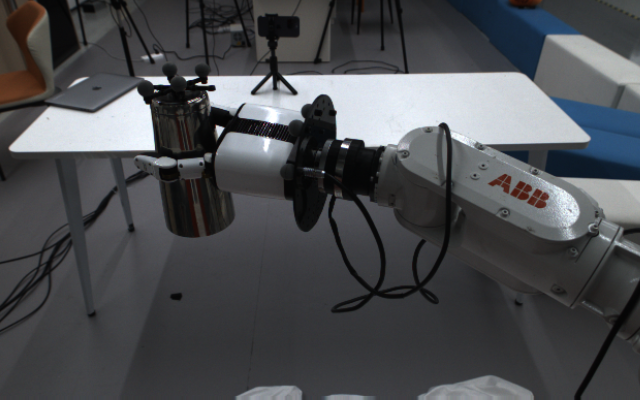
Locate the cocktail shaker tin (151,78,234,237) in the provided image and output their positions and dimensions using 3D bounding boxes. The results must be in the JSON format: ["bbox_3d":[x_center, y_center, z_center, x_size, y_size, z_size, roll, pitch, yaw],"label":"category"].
[{"bbox_3d":[-0.159,-0.049,0.601,0.093,0.170,0.093,-1,33,1],"label":"cocktail shaker tin"}]
